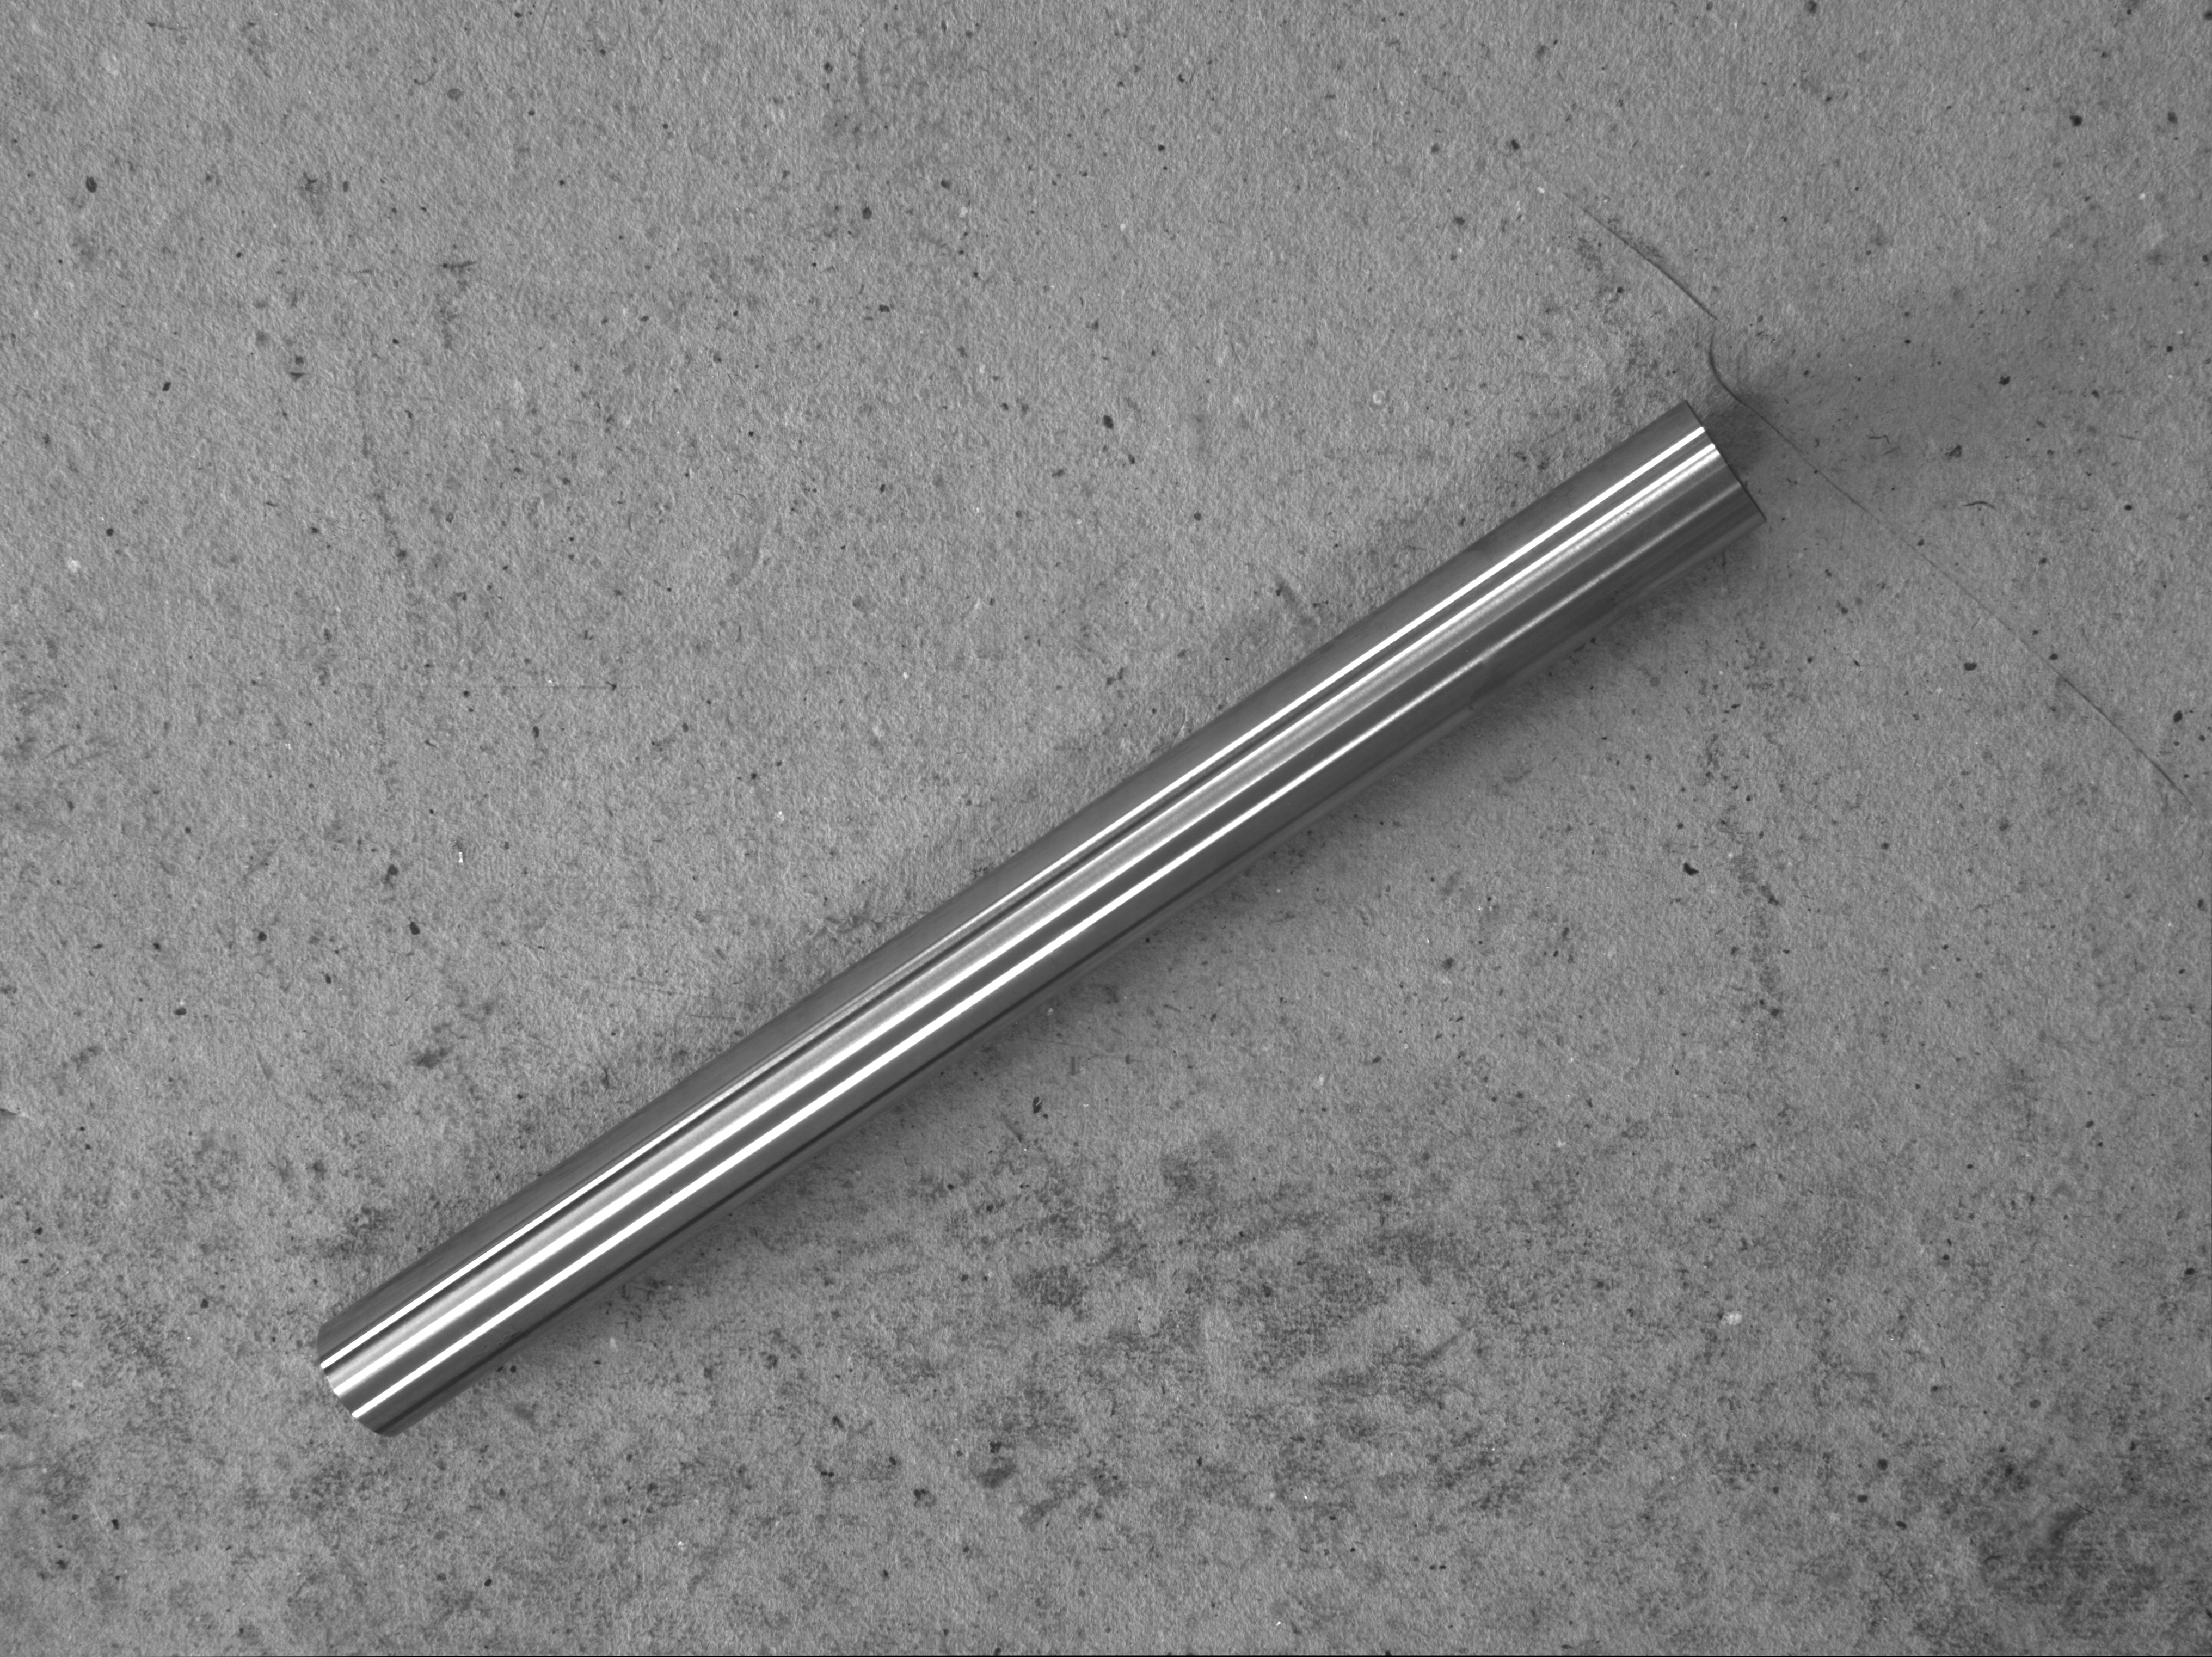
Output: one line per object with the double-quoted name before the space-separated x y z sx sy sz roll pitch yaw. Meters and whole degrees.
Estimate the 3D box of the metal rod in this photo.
"metal rod" -0.017 0.020 0.652 0.300 0.025 0.025 -34 106 11
